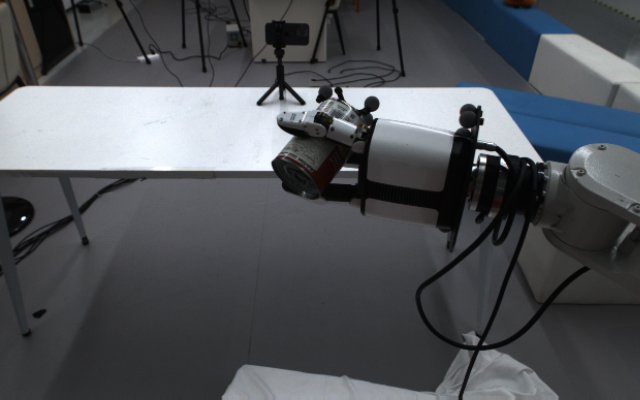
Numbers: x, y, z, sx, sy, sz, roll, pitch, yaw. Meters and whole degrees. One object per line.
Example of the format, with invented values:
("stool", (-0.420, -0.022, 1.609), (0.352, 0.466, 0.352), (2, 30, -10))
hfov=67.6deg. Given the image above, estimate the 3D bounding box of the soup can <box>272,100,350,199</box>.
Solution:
("soup can", (0.001, -0.061, 0.561), (0.067, 0.067, 0.101), (25, 66, 30))
